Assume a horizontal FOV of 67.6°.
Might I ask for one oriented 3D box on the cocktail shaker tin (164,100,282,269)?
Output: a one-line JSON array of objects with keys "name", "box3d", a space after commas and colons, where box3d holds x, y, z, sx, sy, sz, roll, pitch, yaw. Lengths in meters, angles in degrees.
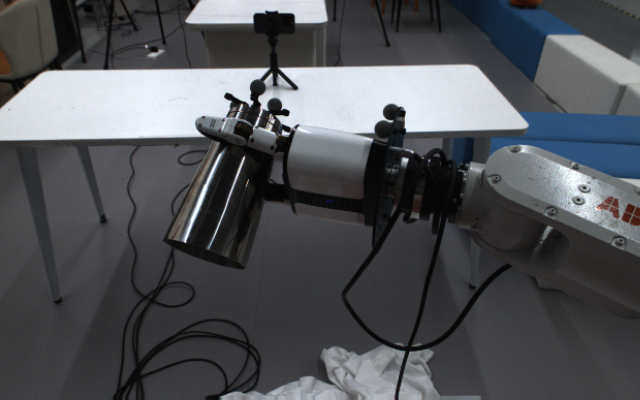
[{"name": "cocktail shaker tin", "box3d": [-0.097, -0.020, 0.544, 0.093, 0.093, 0.170, 13, 72, 15]}]
